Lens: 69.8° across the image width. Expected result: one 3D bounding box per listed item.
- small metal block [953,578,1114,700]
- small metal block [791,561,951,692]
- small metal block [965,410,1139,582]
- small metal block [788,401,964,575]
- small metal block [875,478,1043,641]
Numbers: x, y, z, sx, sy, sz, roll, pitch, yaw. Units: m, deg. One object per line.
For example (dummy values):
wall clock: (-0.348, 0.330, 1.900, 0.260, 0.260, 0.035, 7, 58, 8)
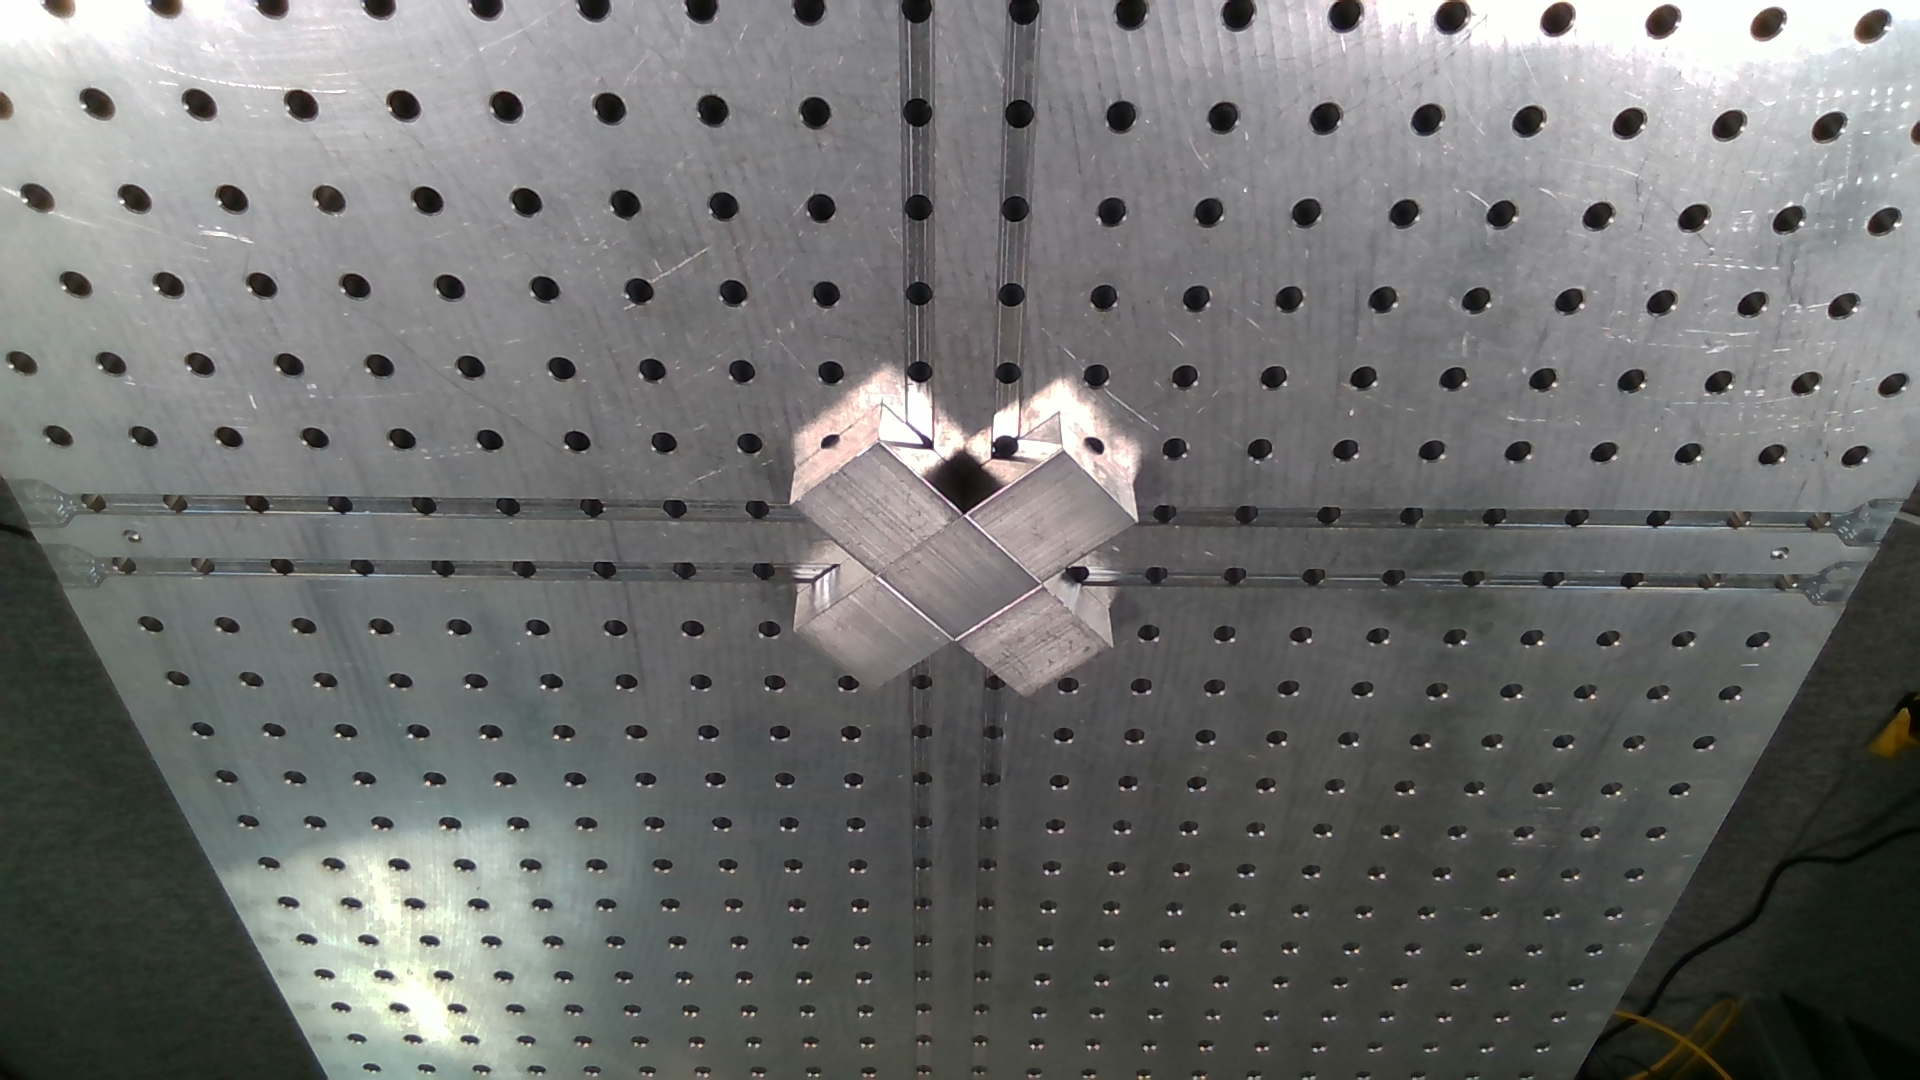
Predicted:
small metal block: (0.032, 0.038, 0.613, 0.050, 0.025, 0.050, -34, 122, 25)
small metal block: (-0.038, 0.034, 0.610, 0.050, 0.025, 0.050, -34, 122, 25)
small metal block: (0.037, -0.017, 0.568, 0.050, 0.025, 0.050, -34, 122, 25)
small metal block: (-0.034, -0.021, 0.565, 0.050, 0.025, 0.050, -34, 122, 25)
small metal block: (0.000, 0.009, 0.588, 0.050, 0.025, 0.050, -34, 122, 25)
